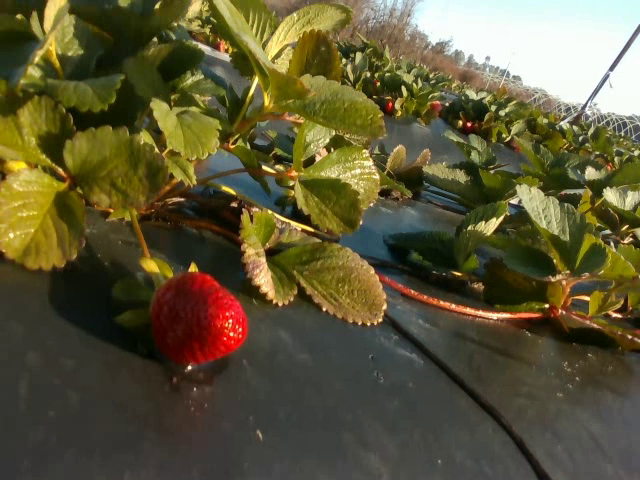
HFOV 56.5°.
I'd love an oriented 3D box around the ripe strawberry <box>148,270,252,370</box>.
[{"bbox_3d":[-0.030,0.020,0.154,0.028,0.031,0.041,-16,5,-32],"label":"ripe strawberry"}]
